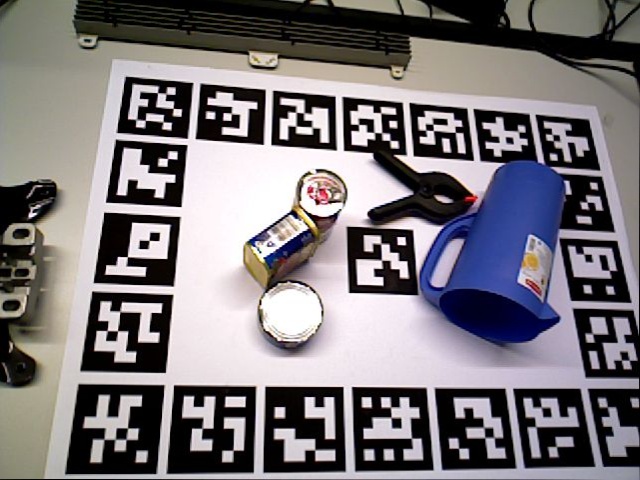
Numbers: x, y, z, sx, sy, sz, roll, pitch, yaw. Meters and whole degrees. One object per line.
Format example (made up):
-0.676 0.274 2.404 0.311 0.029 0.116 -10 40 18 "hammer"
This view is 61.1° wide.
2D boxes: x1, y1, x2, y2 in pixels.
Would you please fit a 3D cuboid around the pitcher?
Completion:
0.250 0.017 0.738 0.189 0.135 0.238 13 58 19 "pitcher"

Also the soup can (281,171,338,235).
-0.018 -0.040 0.736 0.067 0.104 0.067 2 69 -7 "soup can"

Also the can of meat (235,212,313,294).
-0.062 0.019 0.701 0.082 0.103 0.058 -33 78 -17 "can of meat"

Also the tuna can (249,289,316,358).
-0.049 0.110 0.708 0.085 0.034 0.085 3 70 -9 "tuna can"

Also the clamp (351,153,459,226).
0.127 -0.068 0.817 0.163 0.037 0.120 6 64 -11 "clamp"
